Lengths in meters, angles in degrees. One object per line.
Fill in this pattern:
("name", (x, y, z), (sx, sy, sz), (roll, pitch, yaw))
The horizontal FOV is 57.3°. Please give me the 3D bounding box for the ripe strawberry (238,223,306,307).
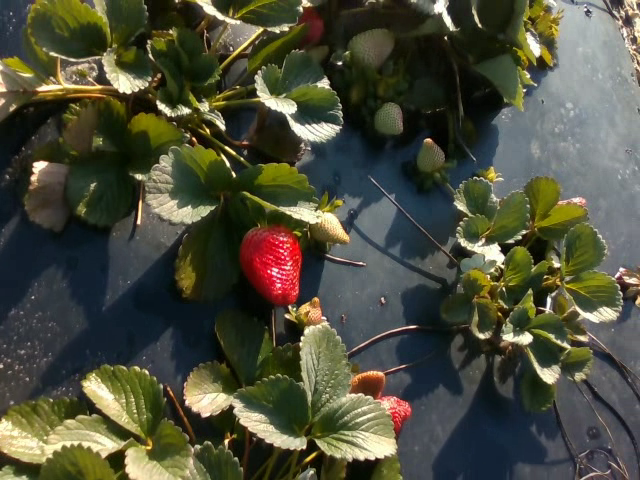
("ripe strawberry", (-0.032, 0.021, 0.414), (0.056, 0.072, 0.055), (-34, -30, 18))
